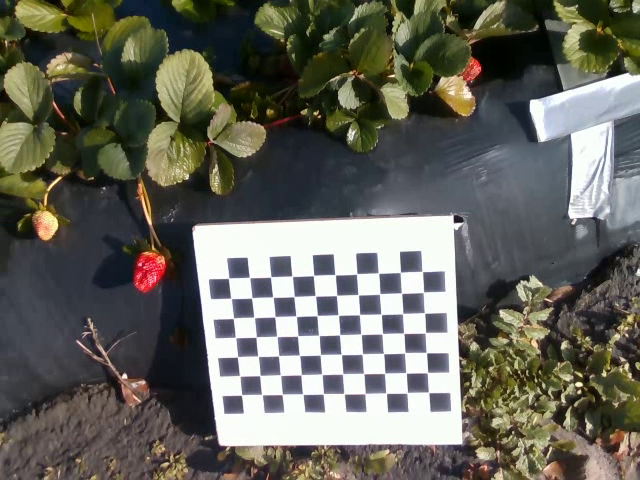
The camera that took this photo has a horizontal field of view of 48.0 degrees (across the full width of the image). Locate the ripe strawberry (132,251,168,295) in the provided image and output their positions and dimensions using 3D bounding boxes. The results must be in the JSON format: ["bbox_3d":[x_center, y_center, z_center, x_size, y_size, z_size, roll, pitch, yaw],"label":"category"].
[{"bbox_3d":[-0.070,0.012,0.283,0.015,0.023,0.015,5,-35,4],"label":"ripe strawberry"}]
